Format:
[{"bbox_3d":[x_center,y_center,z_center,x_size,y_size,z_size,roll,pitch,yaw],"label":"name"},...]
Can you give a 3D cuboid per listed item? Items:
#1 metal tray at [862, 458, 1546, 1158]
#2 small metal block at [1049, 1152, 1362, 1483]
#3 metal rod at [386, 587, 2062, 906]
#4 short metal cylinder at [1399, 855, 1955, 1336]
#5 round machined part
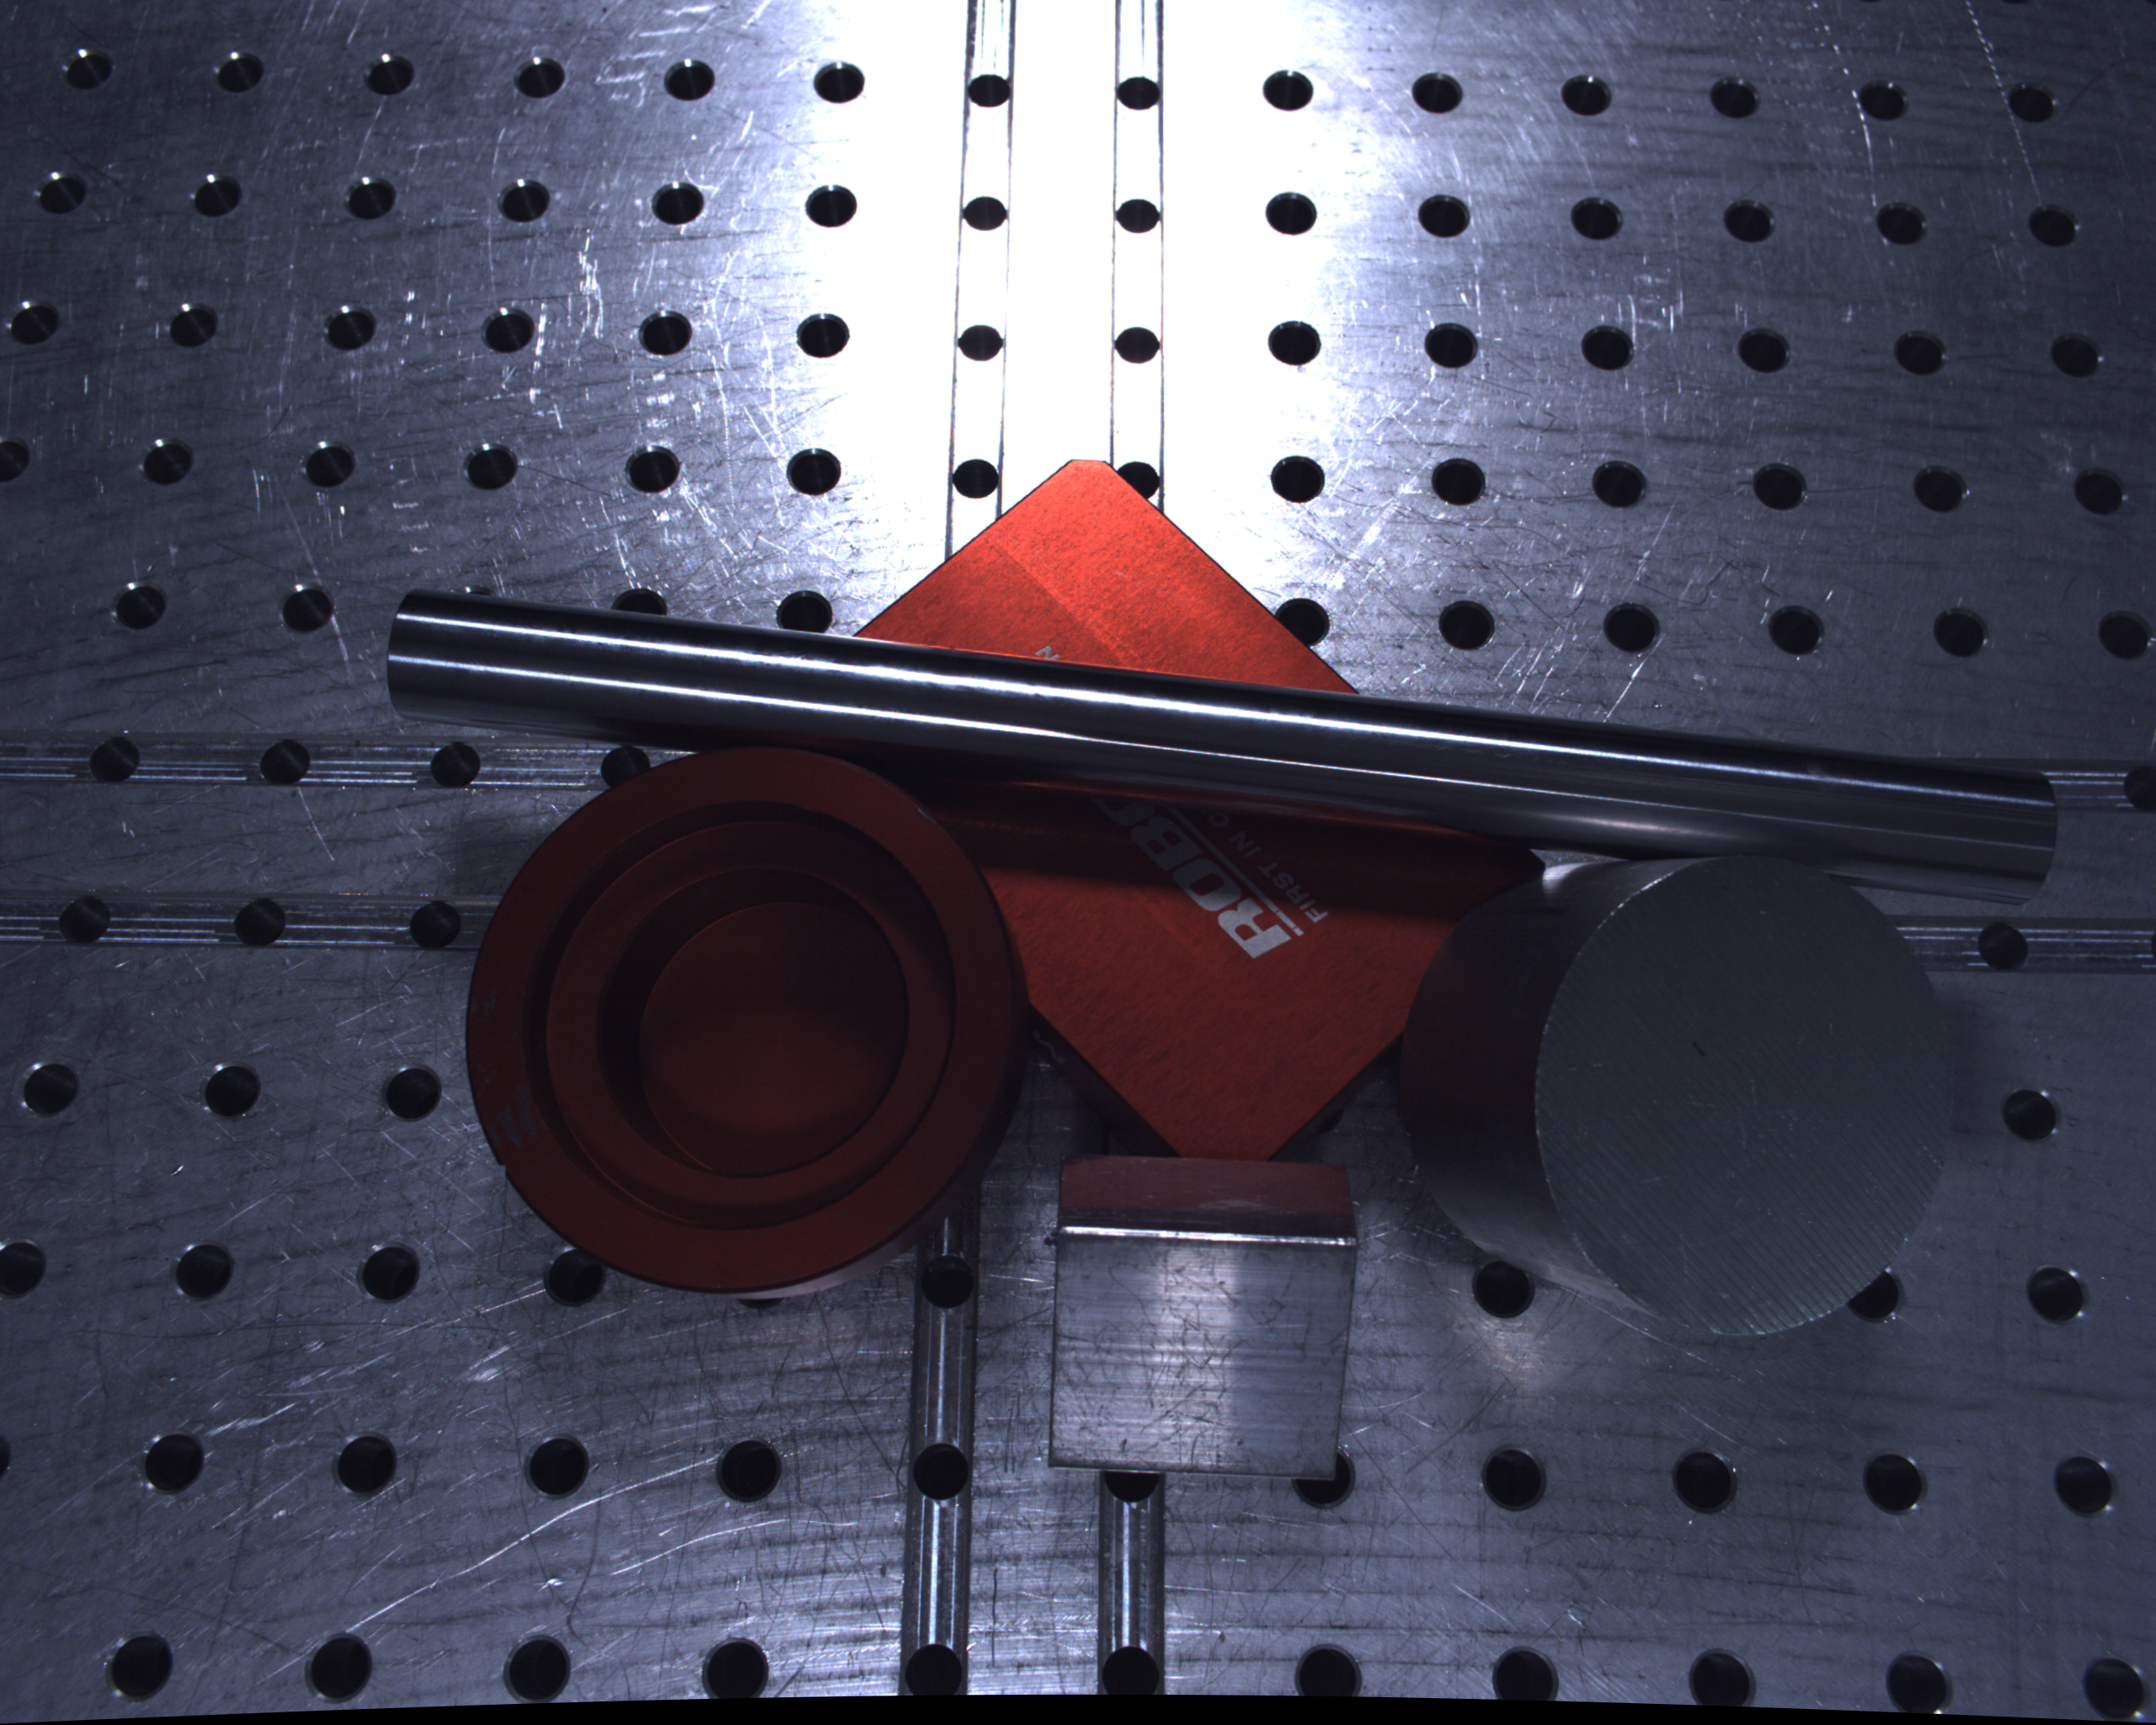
[{"bbox_3d":[0.015,-0.008,0.413,0.090,0.030,0.130,-42,76,-14],"label":"metal tray"},{"bbox_3d":[0.021,0.080,0.368,0.050,0.025,0.050,3,113,0],"label":"small metal block"},{"bbox_3d":[0.025,-0.022,0.386,0.302,0.025,0.025,7,70,2],"label":"metal rod"},{"bbox_3d":[0.104,0.039,0.369,0.081,0.050,0.079,0,89,-17],"label":"short metal cylinder"},{"bbox_3d":[-0.058,0.030,0.386,0.099,0.042,0.098,-1,76,4],"label":"round machined part"}]
